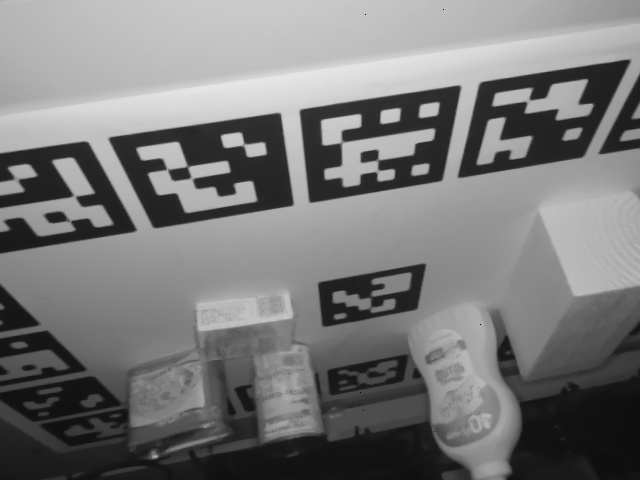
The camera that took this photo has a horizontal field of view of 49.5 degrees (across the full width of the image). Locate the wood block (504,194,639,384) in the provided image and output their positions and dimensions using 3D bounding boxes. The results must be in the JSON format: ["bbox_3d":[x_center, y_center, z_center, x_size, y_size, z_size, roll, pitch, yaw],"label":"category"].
[{"bbox_3d":[0.249,0.055,0.654,0.091,0.090,0.204,-8,149,-4],"label":"wood block"}]

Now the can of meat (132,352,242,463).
[{"bbox_3d":[-0.133,0.166,0.694,0.101,0.084,0.058,-16,144,9],"label":"can of meat"}]

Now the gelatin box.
[{"bbox_3d":[-0.065,0.082,0.637,0.090,0.030,0.072,-5,142,-14],"label":"gelatin box"}]

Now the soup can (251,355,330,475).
[{"bbox_3d":[-0.032,0.178,0.710,0.068,0.102,0.067,-9,143,-6],"label":"soup can"}]

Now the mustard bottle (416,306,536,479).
[{"bbox_3d":[0.164,0.168,0.704,0.095,0.192,0.059,-23,144,18],"label":"mustard bottle"}]
